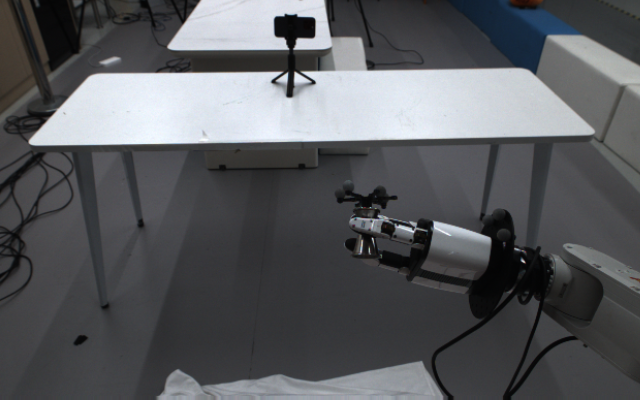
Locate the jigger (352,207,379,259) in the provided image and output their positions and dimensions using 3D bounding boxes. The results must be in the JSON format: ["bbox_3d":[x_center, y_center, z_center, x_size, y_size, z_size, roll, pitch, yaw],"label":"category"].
[{"bbox_3d":[0.065,0.046,0.692,0.043,0.043,0.071,3,76,1],"label":"jigger"}]
